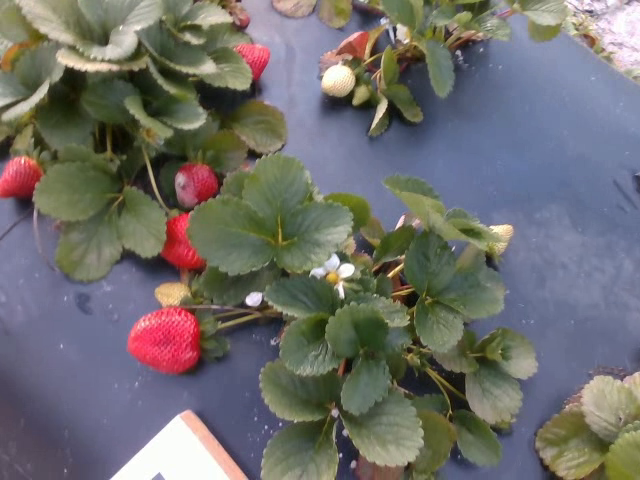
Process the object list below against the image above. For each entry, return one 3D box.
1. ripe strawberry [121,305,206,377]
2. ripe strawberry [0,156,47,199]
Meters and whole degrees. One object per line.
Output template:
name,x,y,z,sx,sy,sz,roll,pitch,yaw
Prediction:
ripe strawberry,-0.055,0.036,0.213,0.030,0.025,0.022,11,17,-47
ripe strawberry,-0.113,-0.022,0.235,0.018,0.022,0.017,25,-37,15
